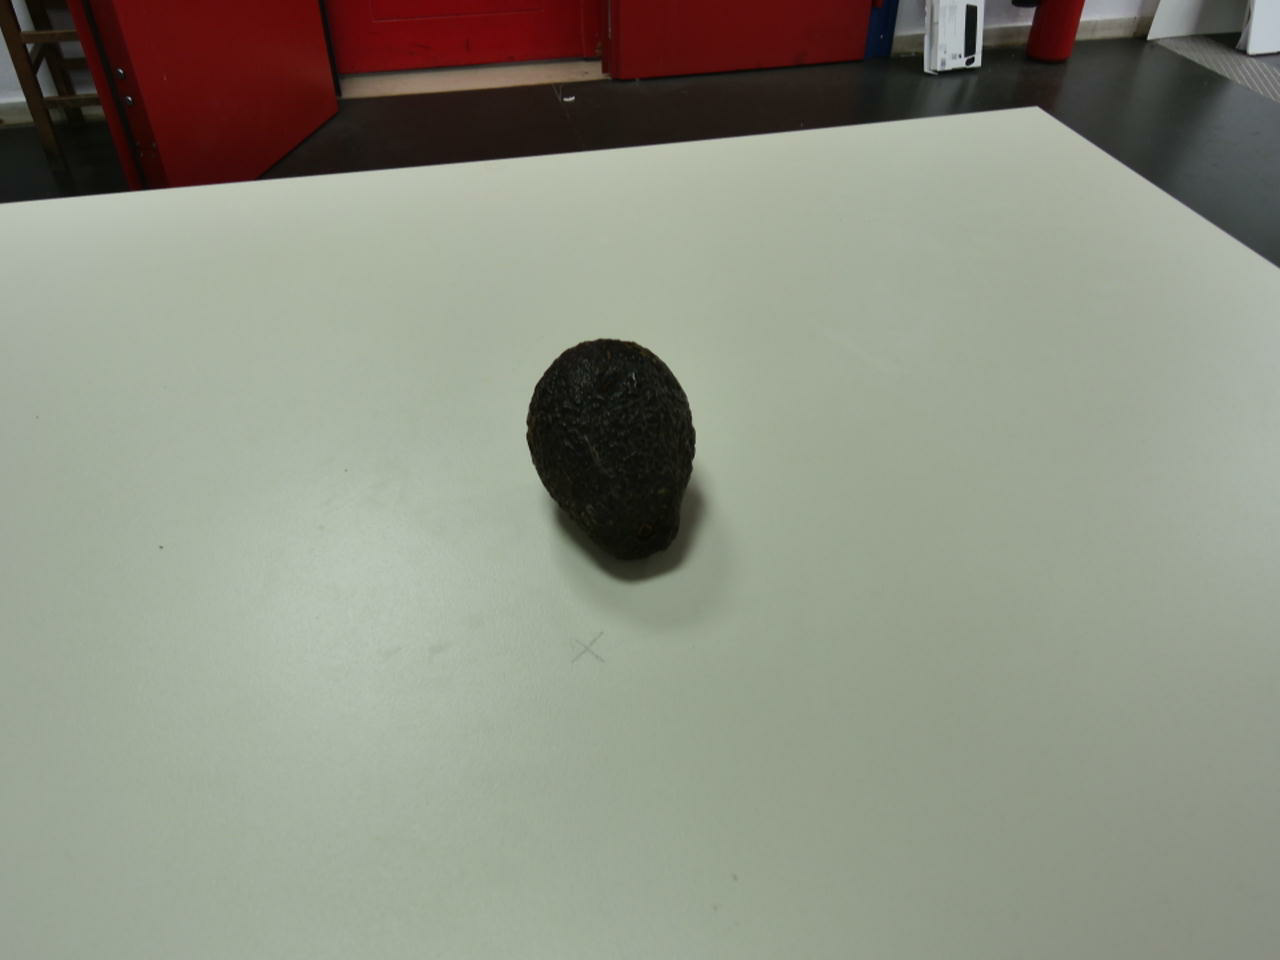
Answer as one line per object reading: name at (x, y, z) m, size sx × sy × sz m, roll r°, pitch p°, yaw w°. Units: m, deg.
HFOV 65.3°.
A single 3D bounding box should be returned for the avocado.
avocado at (-0.013, -0.017, 0.408) m, size 0.070 × 0.069 × 0.090 m, roll 7°, pitch 39°, yaw 9°
